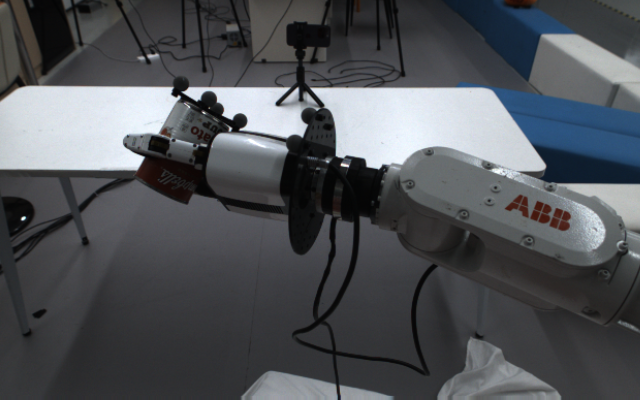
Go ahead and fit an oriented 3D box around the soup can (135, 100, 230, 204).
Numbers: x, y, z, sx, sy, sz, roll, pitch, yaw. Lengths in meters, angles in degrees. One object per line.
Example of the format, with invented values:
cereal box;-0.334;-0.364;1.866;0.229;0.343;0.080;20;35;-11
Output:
soup can;-0.156;-0.054;0.553;0.067;0.101;0.067;29;-2;1
